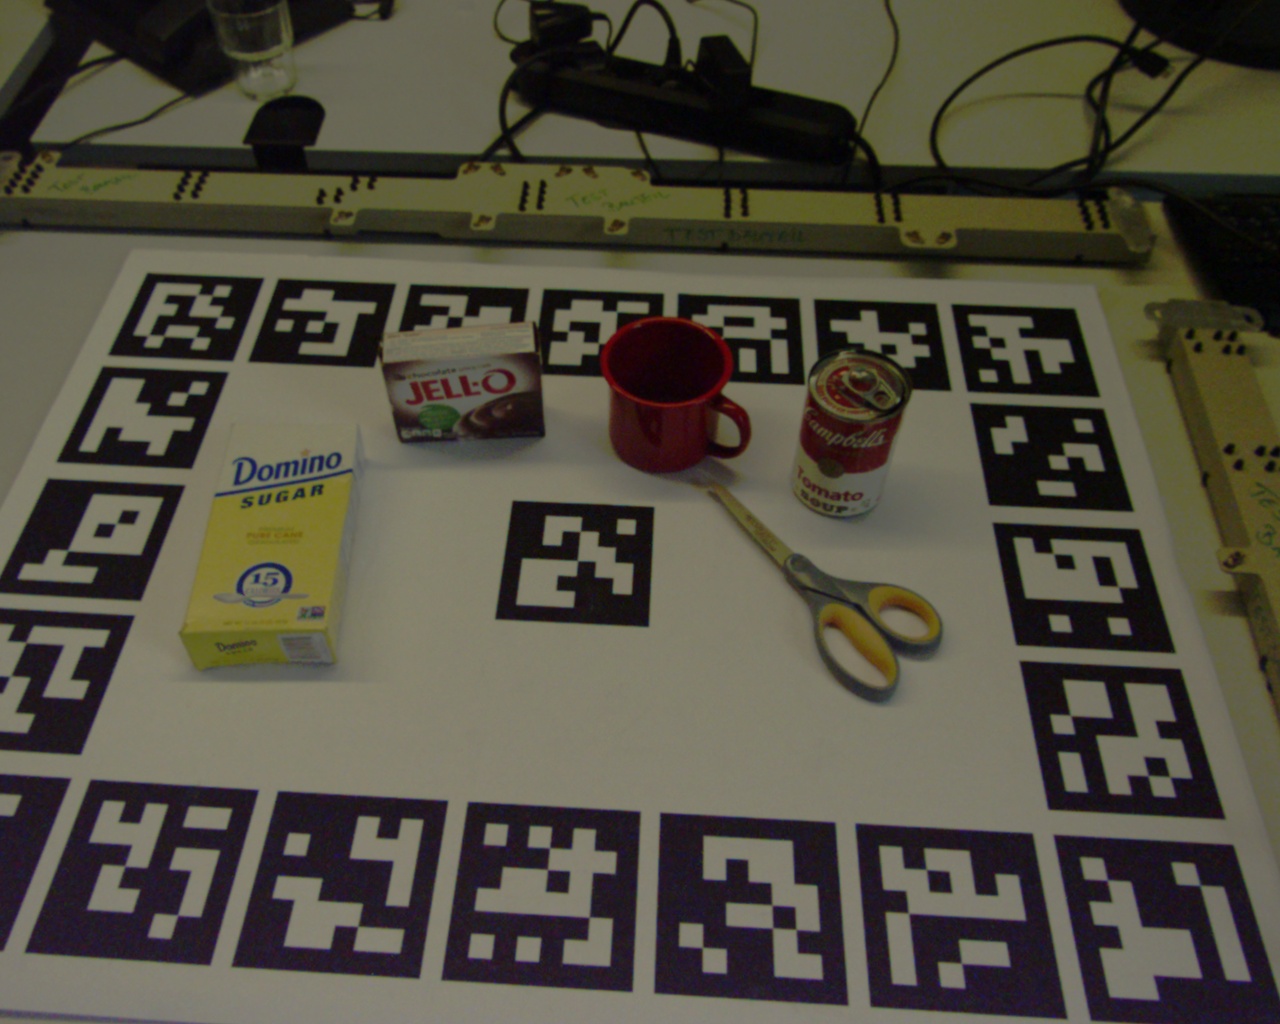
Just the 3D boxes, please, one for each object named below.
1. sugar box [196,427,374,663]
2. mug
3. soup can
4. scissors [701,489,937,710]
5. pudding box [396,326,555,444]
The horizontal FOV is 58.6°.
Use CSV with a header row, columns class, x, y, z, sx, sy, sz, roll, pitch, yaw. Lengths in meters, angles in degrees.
class,x,y,z,sx,sy,sz,roll,pitch,yaw
sugar box,-0.247,0.020,0.809,0.093,0.045,0.177,-2,55,1
mug,0.027,-0.086,0.857,0.093,0.081,0.118,-29,57,-17
soup can,0.141,-0.051,0.827,0.068,0.101,0.068,-1,52,0
scissors,0.114,0.045,0.798,0.087,0.016,0.205,-38,63,-13
pudding box,-0.122,-0.095,0.857,0.113,0.090,0.039,-5,60,-4
